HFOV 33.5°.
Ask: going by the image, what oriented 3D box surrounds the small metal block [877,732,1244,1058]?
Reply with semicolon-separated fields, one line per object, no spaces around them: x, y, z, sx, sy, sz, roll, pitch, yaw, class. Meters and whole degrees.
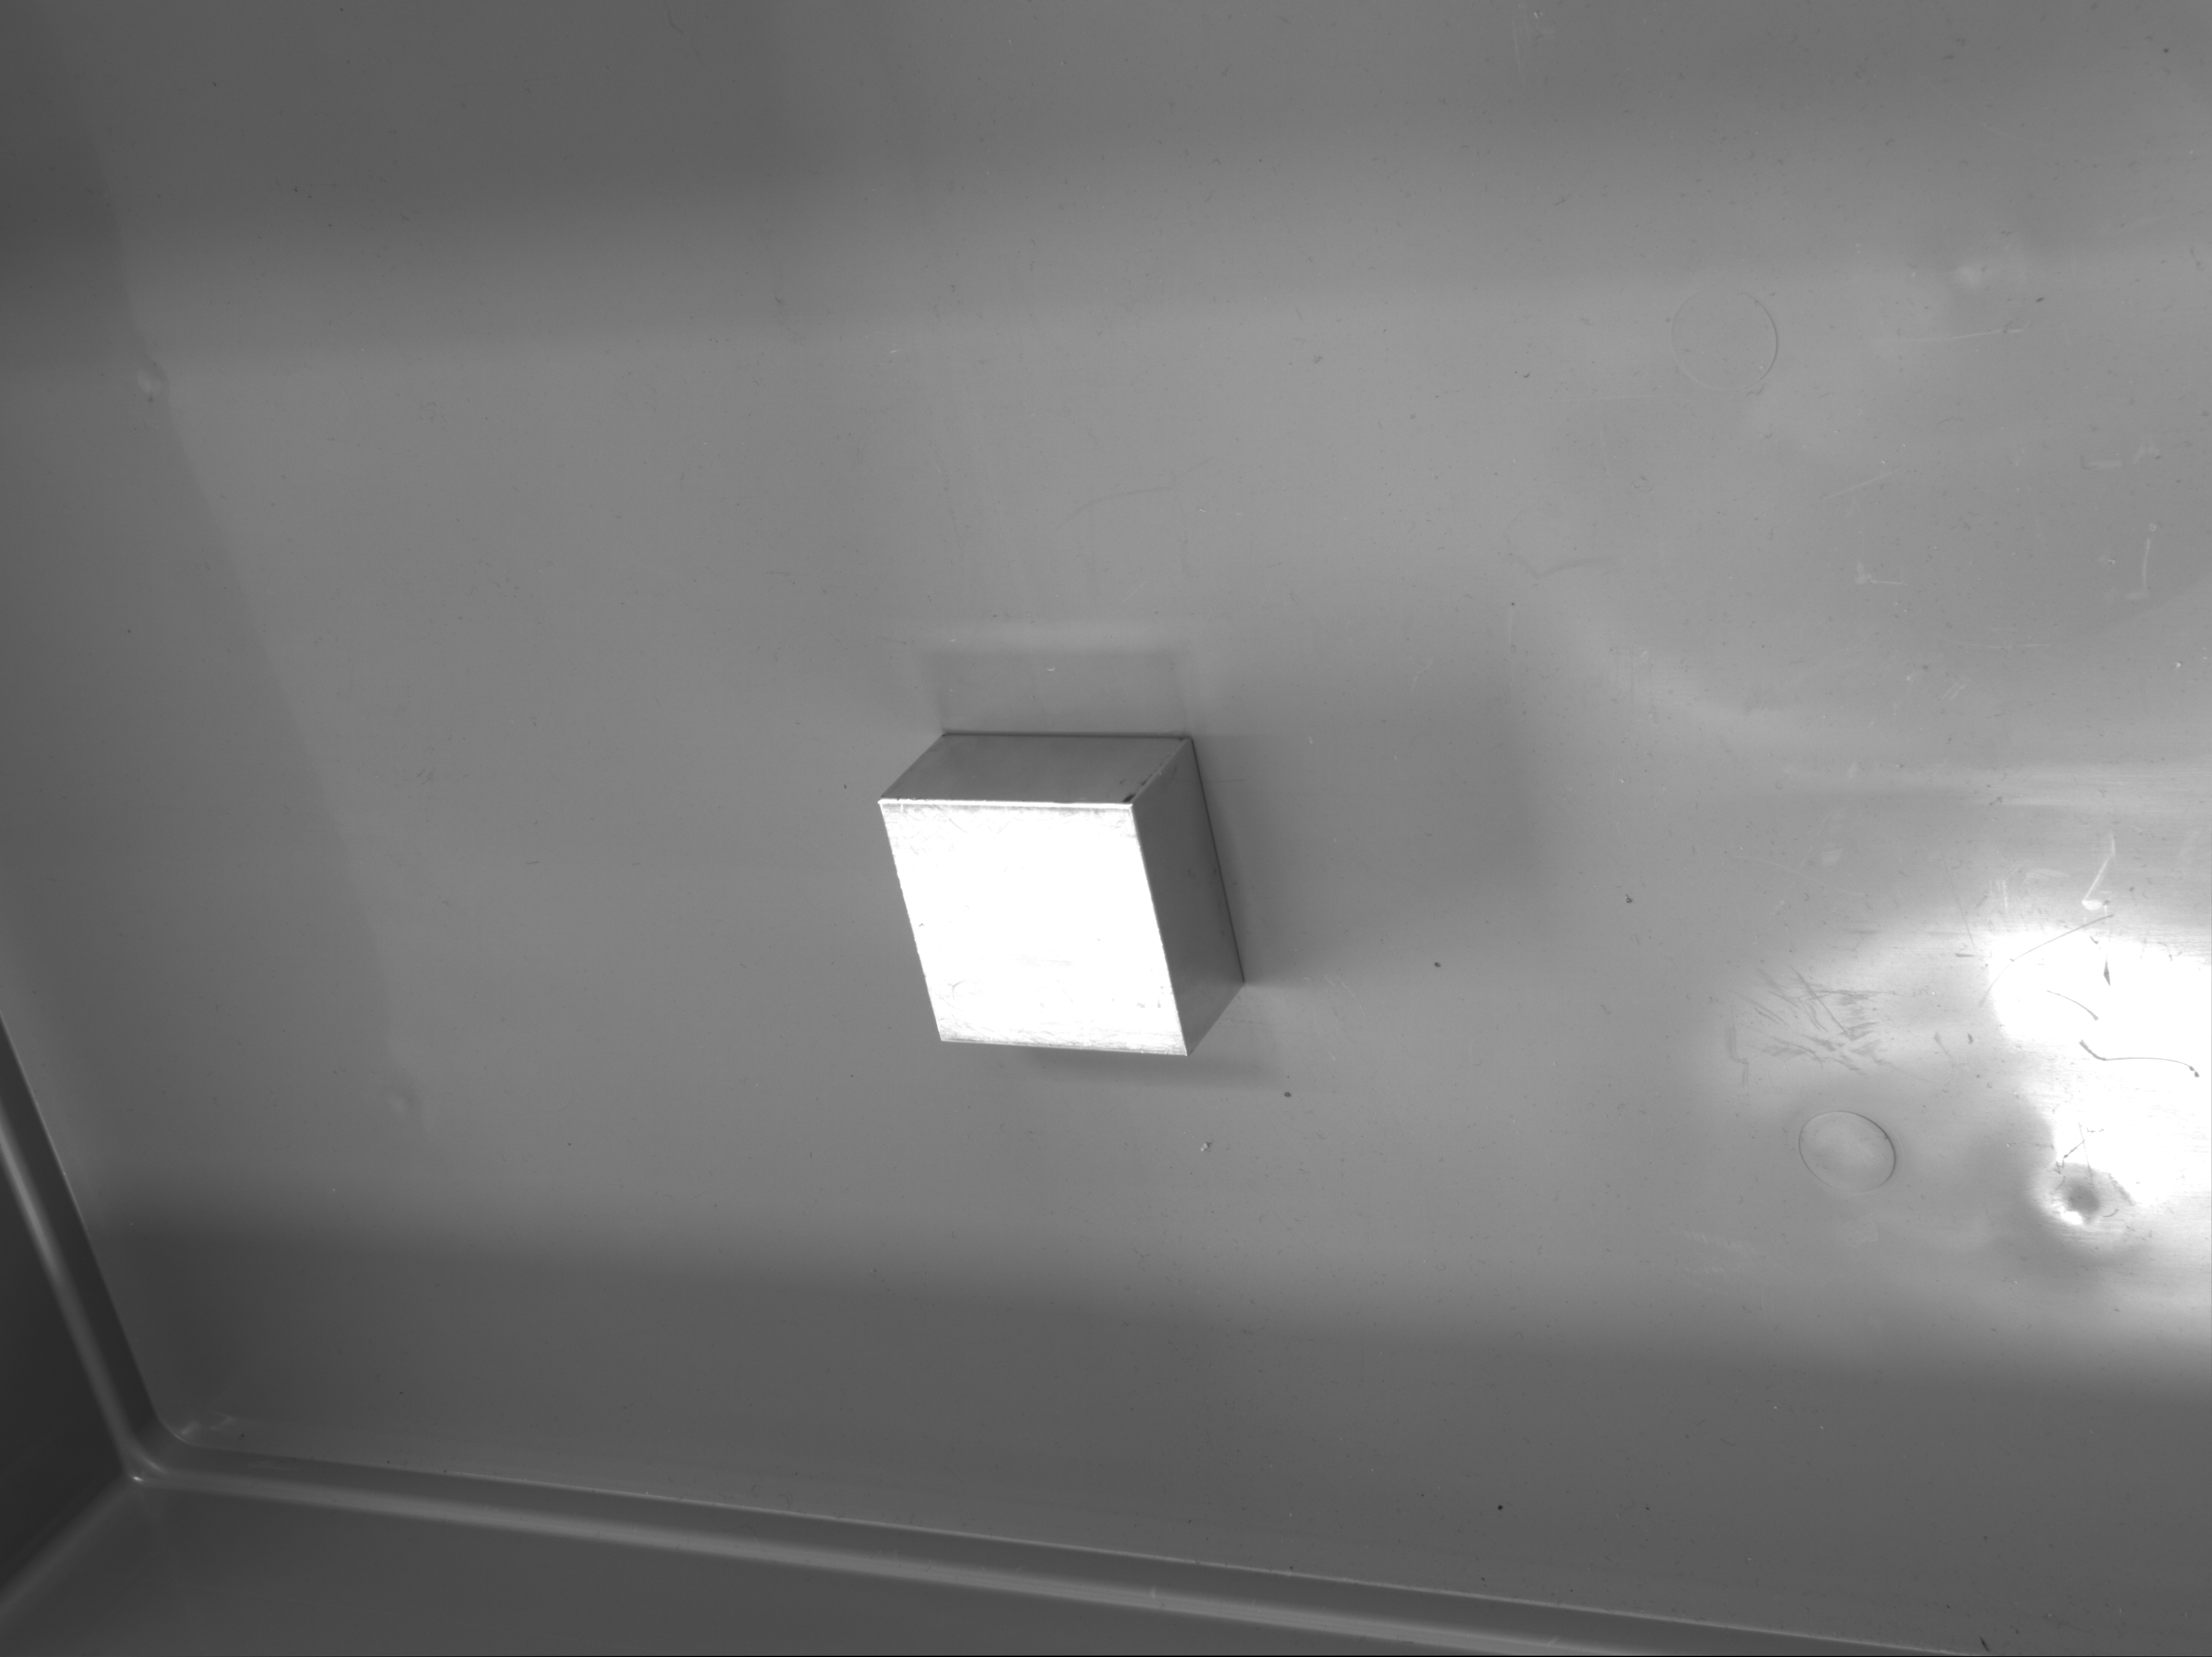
-0.008;0.011;0.650;0.050;0.025;0.050;2;119;28;small metal block
